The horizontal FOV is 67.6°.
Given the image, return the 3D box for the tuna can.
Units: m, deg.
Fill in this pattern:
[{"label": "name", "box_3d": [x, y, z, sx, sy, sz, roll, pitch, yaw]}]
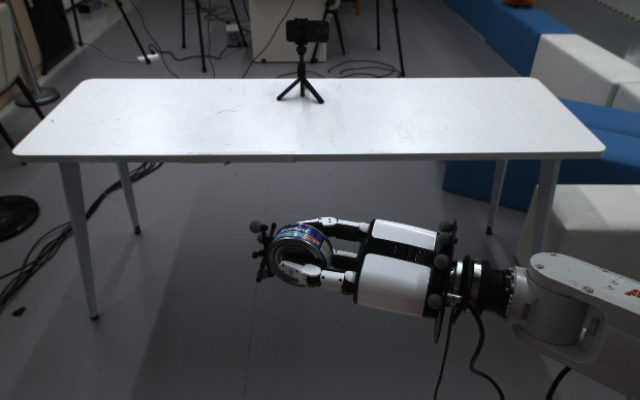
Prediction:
[{"label": "tuna can", "box_3d": [-0.024, 0.077, 0.649, 0.085, 0.085, 0.034, 9, 33, 10]}]
